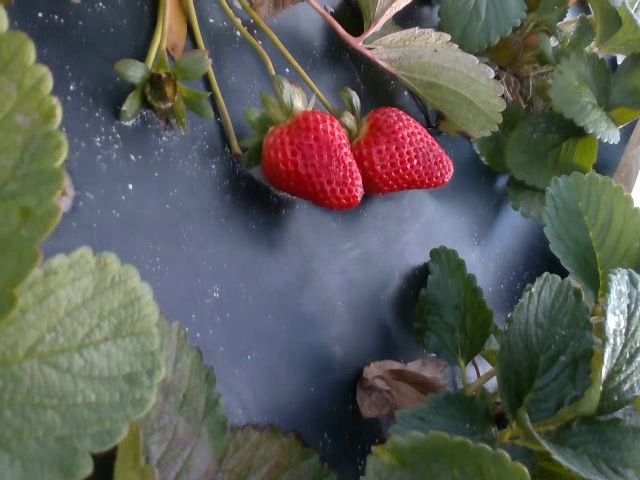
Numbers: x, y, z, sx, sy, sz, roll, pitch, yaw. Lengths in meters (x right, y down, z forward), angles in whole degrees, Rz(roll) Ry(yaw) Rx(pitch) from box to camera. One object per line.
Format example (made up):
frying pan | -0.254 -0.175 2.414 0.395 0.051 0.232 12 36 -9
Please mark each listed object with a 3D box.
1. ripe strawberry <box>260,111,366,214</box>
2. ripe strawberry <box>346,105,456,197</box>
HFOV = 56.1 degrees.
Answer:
ripe strawberry | 0.001 -0.036 0.282 0.048 0.056 0.041 -25 -16 -46
ripe strawberry | 0.047 -0.047 0.323 0.064 0.058 0.051 24 -34 -2
